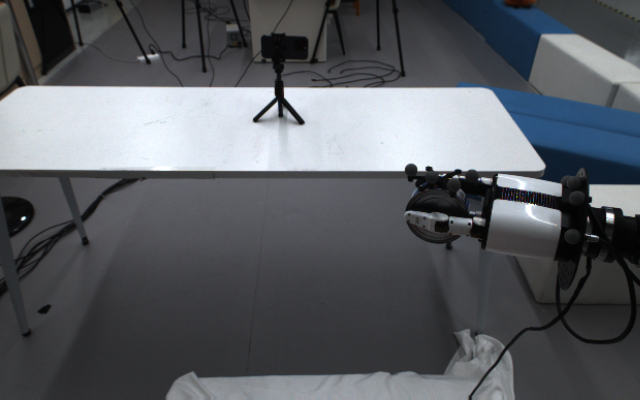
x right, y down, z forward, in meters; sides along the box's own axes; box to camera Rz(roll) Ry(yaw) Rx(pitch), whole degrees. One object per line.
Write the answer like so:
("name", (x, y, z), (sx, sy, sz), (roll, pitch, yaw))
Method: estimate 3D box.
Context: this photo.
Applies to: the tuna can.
("tuna can", (0.166, 0.012, 0.674), (0.085, 0.085, 0.034), (13, 29, 15))
